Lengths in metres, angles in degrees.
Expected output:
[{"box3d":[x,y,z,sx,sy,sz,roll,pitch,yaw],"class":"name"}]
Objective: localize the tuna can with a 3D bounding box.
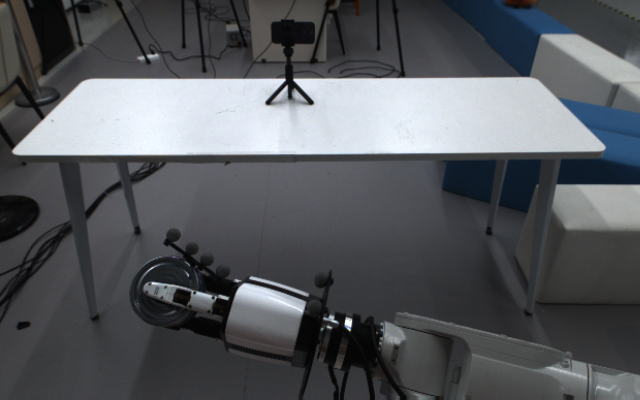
[{"box3d":[-0.184,0.113,0.595,0.085,0.034,0.085,0,74,0],"class":"tuna can"}]
